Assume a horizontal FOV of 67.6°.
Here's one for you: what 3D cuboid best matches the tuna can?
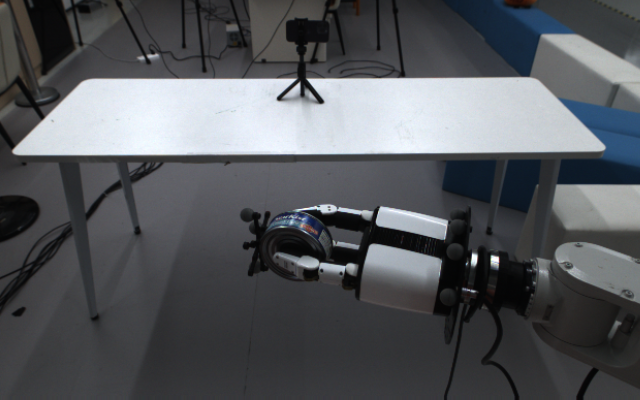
[{"bbox_3d":[-0.026,0.060,0.587,0.085,0.085,0.034,9,33,10],"label":"tuna can"}]
